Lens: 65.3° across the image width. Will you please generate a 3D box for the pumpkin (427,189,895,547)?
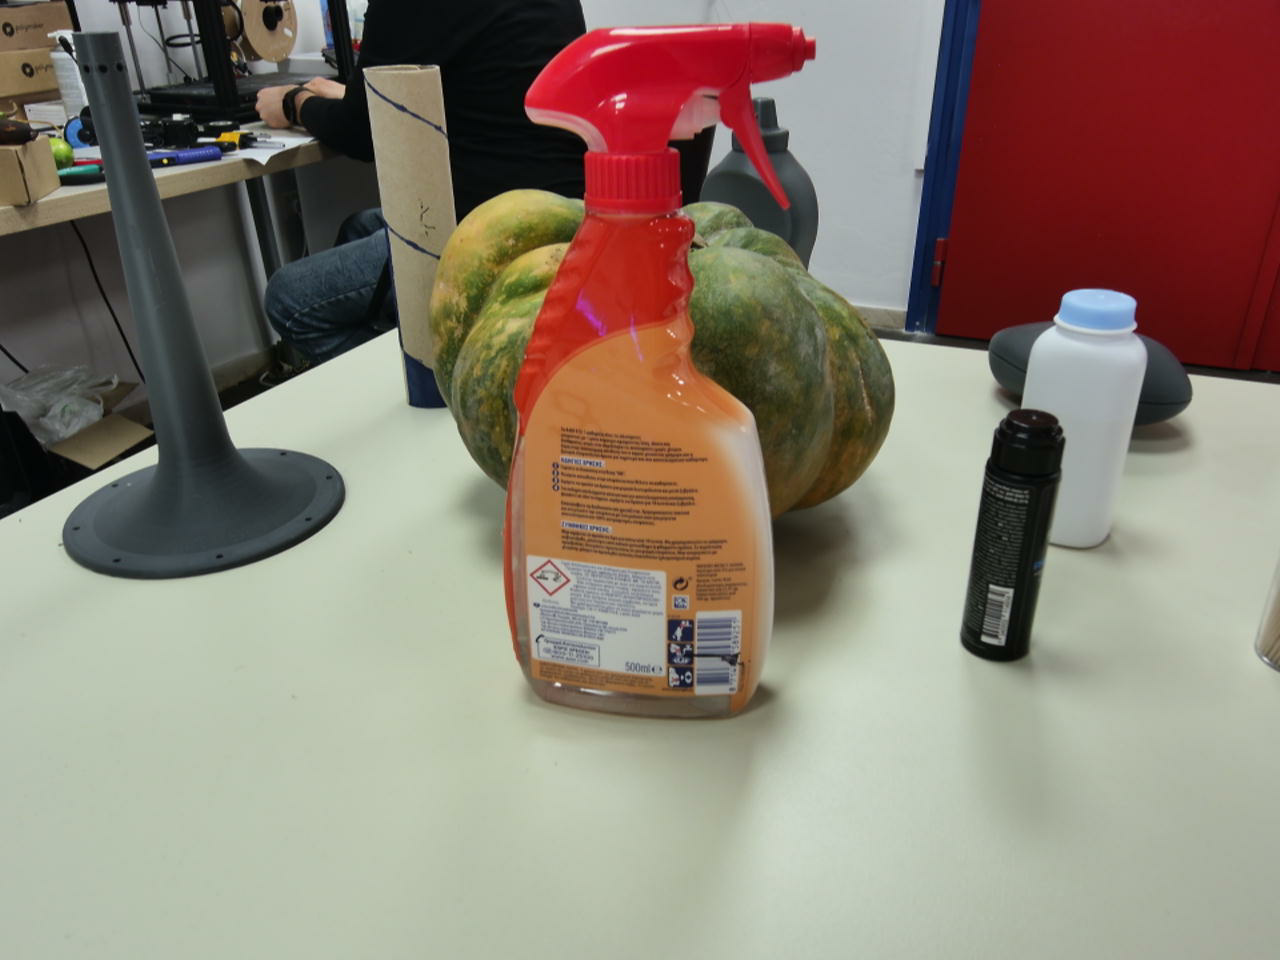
[{"bbox_3d":[0.011,-0.069,0.552,0.237,0.173,0.270,-13,28,-25],"label":"pumpkin"}]
